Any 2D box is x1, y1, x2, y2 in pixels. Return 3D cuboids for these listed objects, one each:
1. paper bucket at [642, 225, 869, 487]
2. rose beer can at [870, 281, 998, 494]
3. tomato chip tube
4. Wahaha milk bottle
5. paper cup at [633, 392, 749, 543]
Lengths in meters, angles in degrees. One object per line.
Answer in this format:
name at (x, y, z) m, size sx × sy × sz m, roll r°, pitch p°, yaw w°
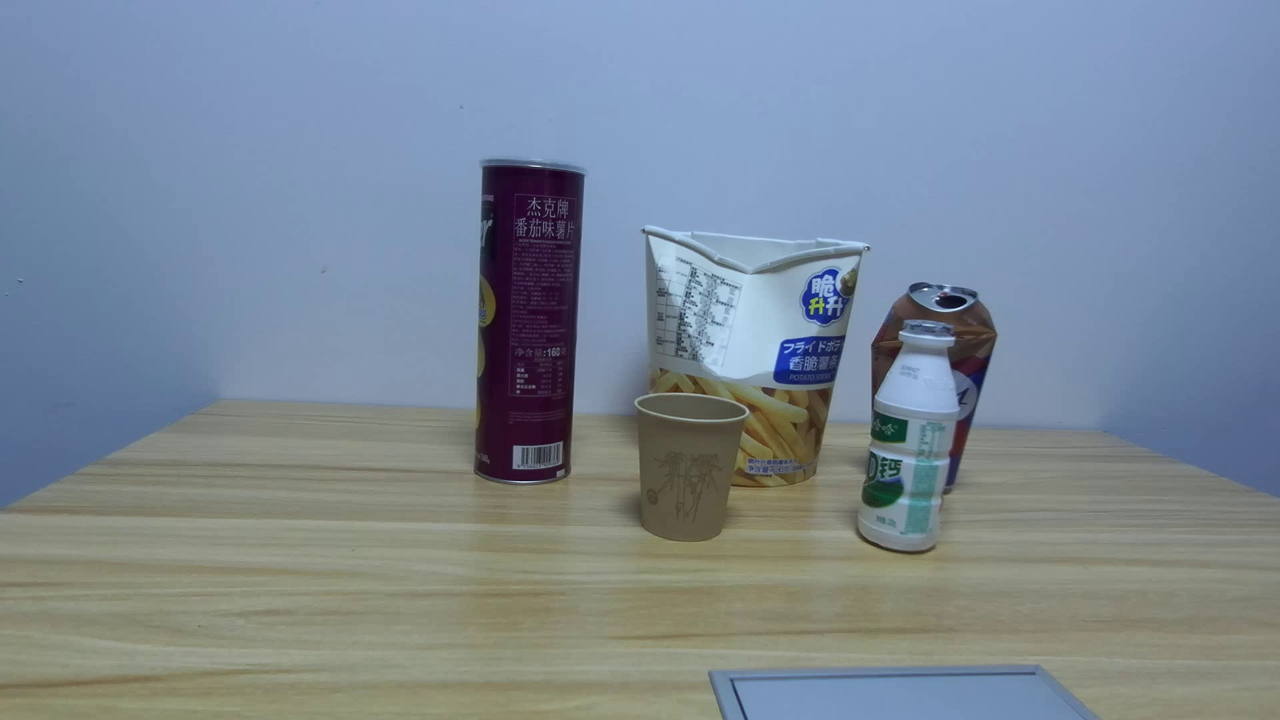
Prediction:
paper bucket at (0.077, -0.009, 0.605) m, size 0.163 × 0.202 × 0.169 m, roll 1°, pitch 8°, yaw -9°
rose beer can at (0.236, 0.024, 0.581) m, size 0.069 × 0.168 × 0.069 m, roll -3°, pitch 15°, yaw -24°
tomato chip tube at (-0.085, -0.028, 0.544) m, size 0.078 × 0.233 × 0.078 m, roll 3°, pitch 9°, yaw 0°
Wahaha milk bottle at (0.177, 0.049, 0.461) m, size 0.053 × 0.147 × 0.053 m, roll 4°, pitch 9°, yaw 0°
paper cup at (0.031, 0.070, 0.464) m, size 0.075 × 0.082 × 0.075 m, roll 4°, pitch 10°, yaw 0°
